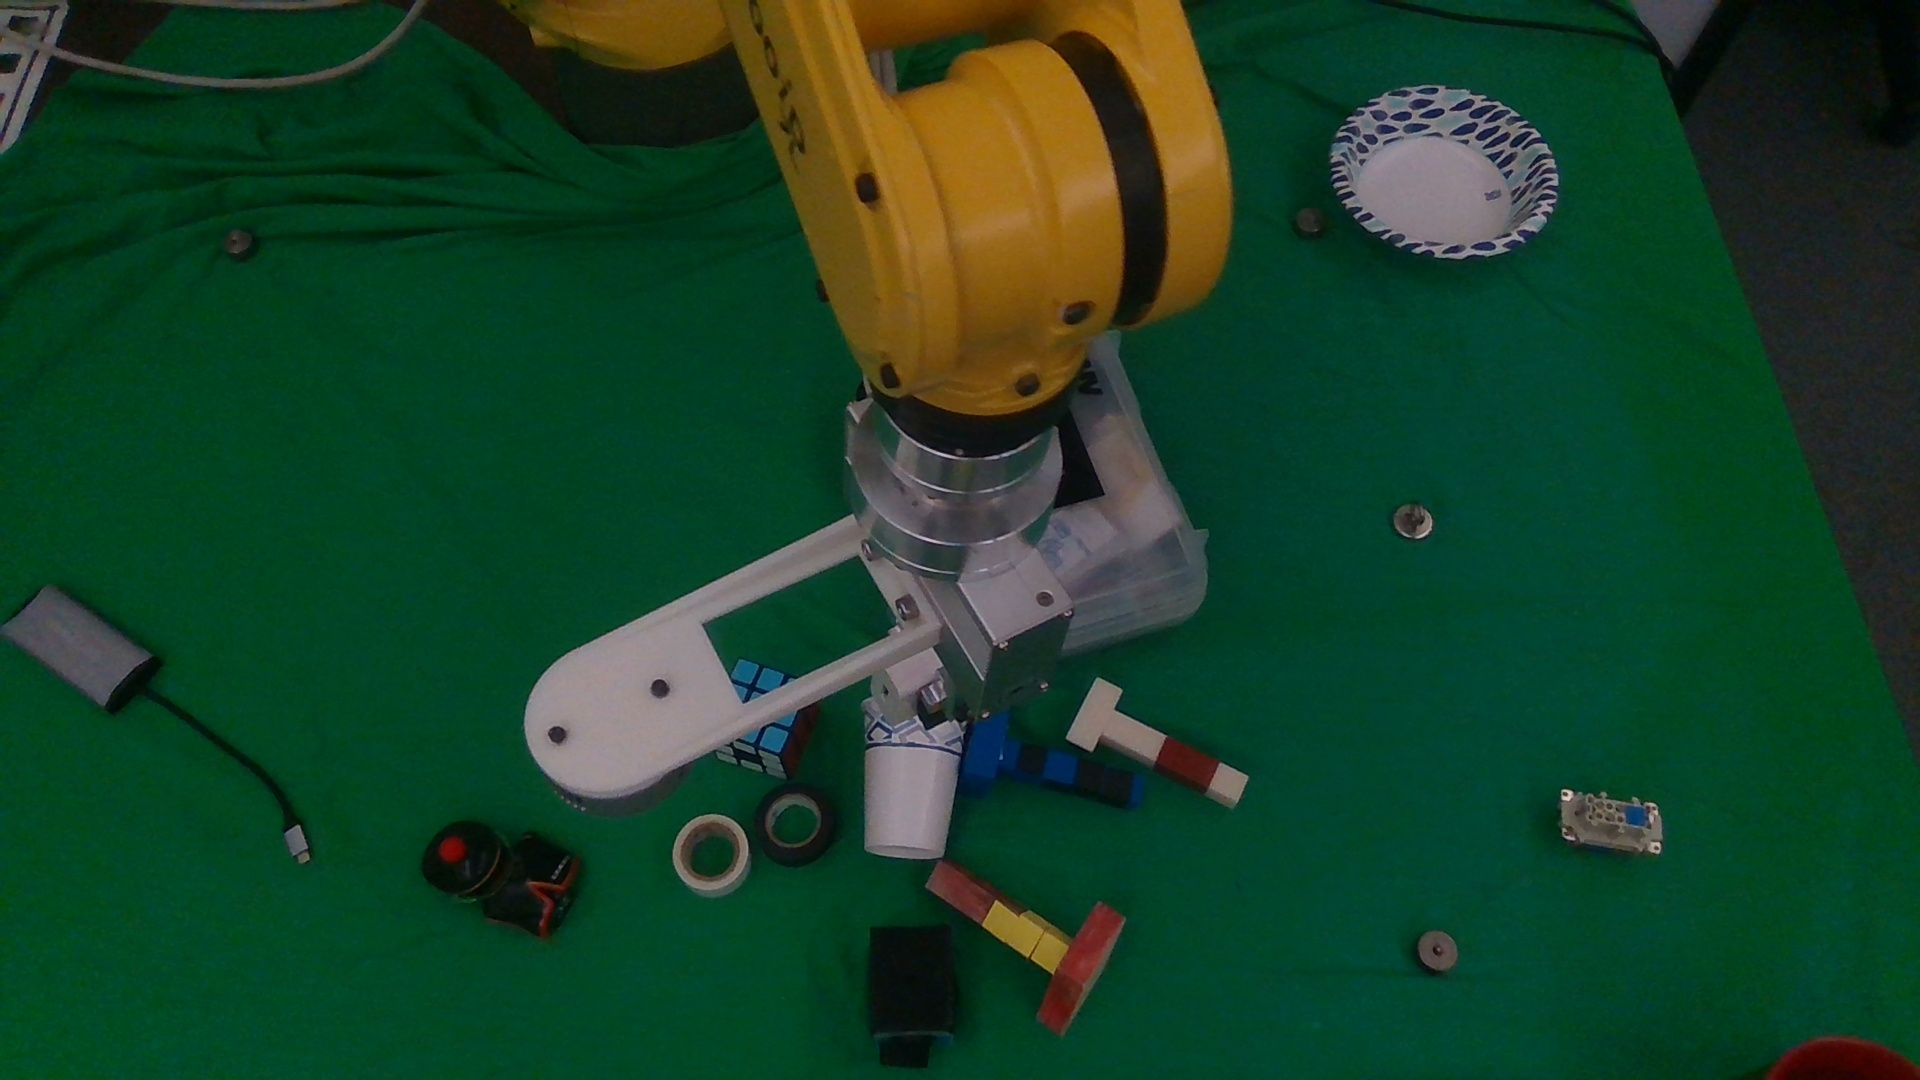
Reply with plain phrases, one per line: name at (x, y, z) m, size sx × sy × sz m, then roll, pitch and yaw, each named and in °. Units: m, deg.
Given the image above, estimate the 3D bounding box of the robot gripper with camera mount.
robot gripper with camera mount at (-0.088, 0.068, 0.589) m, size 0.193 × 0.158 × 0.119 m, roll -23°, pitch 64°, yaw -10°

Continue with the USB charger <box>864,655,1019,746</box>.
USB charger at (-0.007, 0.070, 0.665) m, size 0.075 × 0.044 × 0.029 m, roll -21°, pitch 63°, yaw -19°
